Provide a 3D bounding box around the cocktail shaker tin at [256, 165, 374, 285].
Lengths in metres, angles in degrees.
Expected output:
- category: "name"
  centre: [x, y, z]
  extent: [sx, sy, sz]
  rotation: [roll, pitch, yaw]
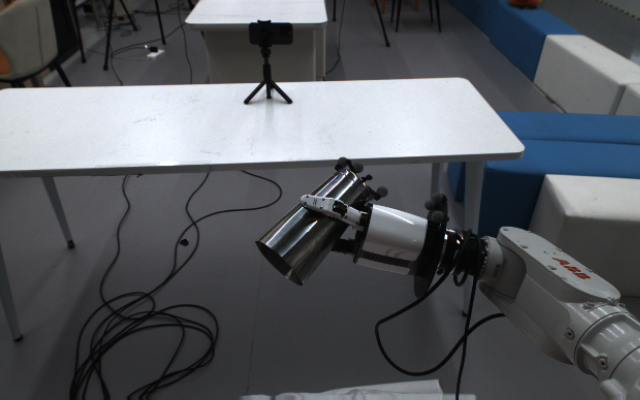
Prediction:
- category: "cocktail shaker tin"
  centre: [-0.003, 0.028, 0.715]
  extent: [0.093, 0.093, 0.170]
  rotation: [32, 66, 35]
